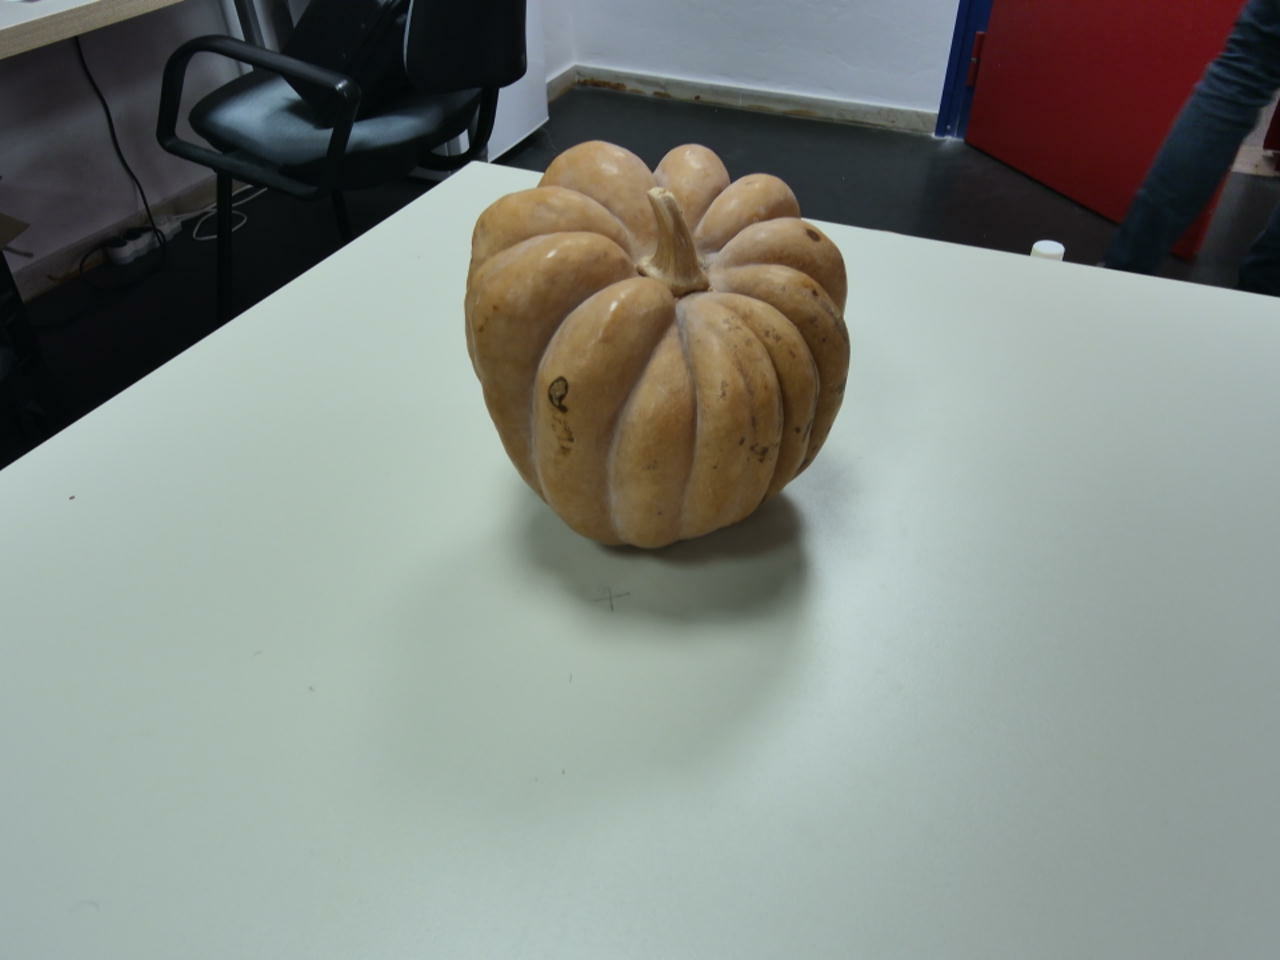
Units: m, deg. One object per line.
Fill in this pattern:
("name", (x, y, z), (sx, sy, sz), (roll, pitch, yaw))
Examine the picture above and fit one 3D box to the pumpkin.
("pumpkin", (0.007, -0.065, 0.496), (0.199, 0.177, 0.198), (0, 38, 0))
